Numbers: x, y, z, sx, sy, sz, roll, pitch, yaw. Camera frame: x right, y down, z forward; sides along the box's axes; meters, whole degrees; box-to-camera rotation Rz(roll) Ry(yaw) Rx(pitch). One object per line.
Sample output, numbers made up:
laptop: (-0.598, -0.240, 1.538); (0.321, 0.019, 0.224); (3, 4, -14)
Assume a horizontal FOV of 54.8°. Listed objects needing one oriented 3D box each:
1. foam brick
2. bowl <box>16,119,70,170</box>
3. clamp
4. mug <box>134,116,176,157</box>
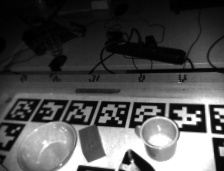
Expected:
foam brick: (-0.061, 0.157, 0.593); (0.053, 0.052, 0.077); (-20, 45, -3)
bowl: (-0.180, 0.172, 0.598); (0.161, 0.055, 0.161); (-7, 45, 7)
clamp: (0.050, 0.227, 0.487); (0.165, 0.037, 0.201); (-18, 45, 0)
mug: (0.102, 0.122, 0.551); (0.115, 0.082, 0.094); (23, 56, 29)
